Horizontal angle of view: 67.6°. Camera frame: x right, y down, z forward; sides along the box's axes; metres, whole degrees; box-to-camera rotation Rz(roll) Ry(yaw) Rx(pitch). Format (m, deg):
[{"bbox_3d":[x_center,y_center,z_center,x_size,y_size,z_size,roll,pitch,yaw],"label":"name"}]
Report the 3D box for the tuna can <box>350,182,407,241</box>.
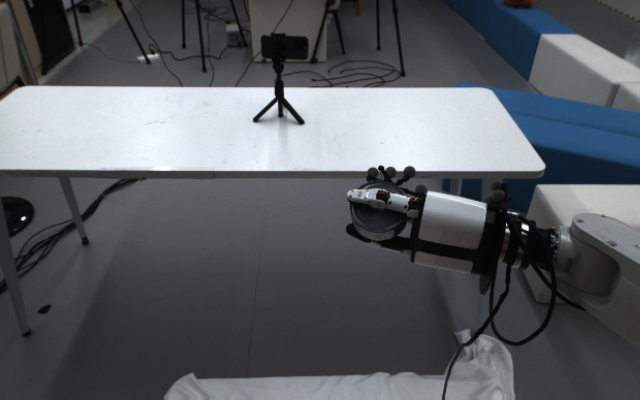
[{"bbox_3d":[0.088,0.014,0.709,0.085,0.034,0.085,-4,56,6],"label":"tuna can"}]
